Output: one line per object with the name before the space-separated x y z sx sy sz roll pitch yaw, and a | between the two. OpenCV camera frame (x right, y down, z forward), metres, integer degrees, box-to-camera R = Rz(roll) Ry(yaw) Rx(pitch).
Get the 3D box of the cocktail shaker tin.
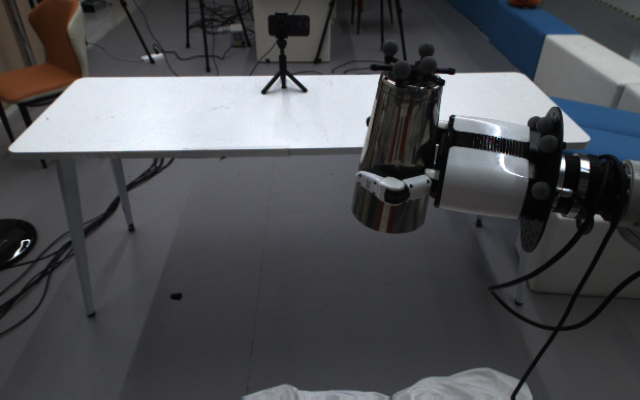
cocktail shaker tin | 0.092 -0.058 0.551 0.093 0.170 0.093 3 34 -2
